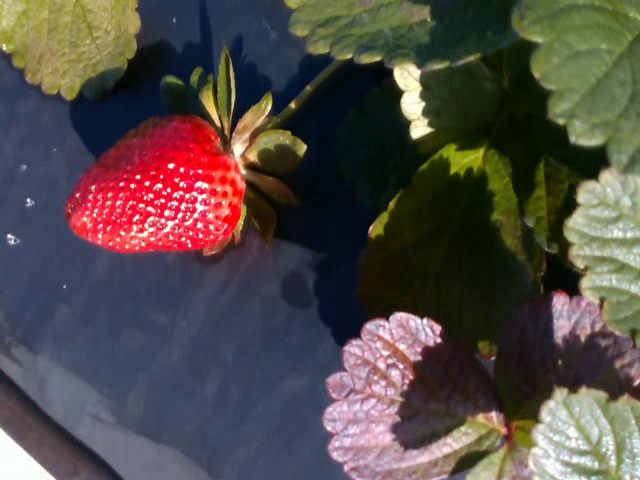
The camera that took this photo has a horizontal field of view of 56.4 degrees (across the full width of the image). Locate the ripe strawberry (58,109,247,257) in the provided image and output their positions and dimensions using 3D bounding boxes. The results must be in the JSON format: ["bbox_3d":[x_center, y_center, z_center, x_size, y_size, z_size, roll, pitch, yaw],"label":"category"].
[{"bbox_3d":[-0.047,-0.012,0.165,0.050,0.043,0.043,-22,-1,-26],"label":"ripe strawberry"}]
